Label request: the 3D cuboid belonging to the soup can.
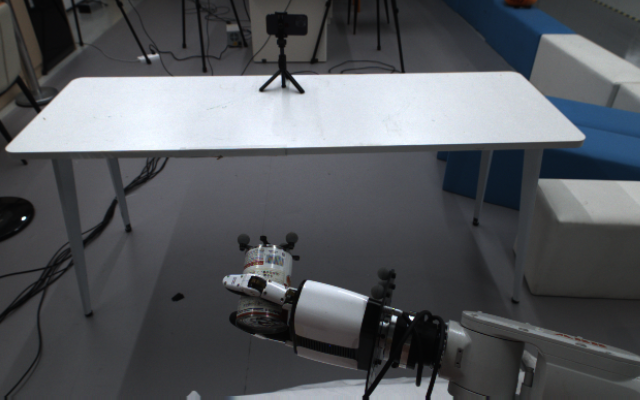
[{"bbox_3d":[-0.072,0.120,0.646,0.067,0.067,0.101,3,56,1],"label":"soup can"}]
